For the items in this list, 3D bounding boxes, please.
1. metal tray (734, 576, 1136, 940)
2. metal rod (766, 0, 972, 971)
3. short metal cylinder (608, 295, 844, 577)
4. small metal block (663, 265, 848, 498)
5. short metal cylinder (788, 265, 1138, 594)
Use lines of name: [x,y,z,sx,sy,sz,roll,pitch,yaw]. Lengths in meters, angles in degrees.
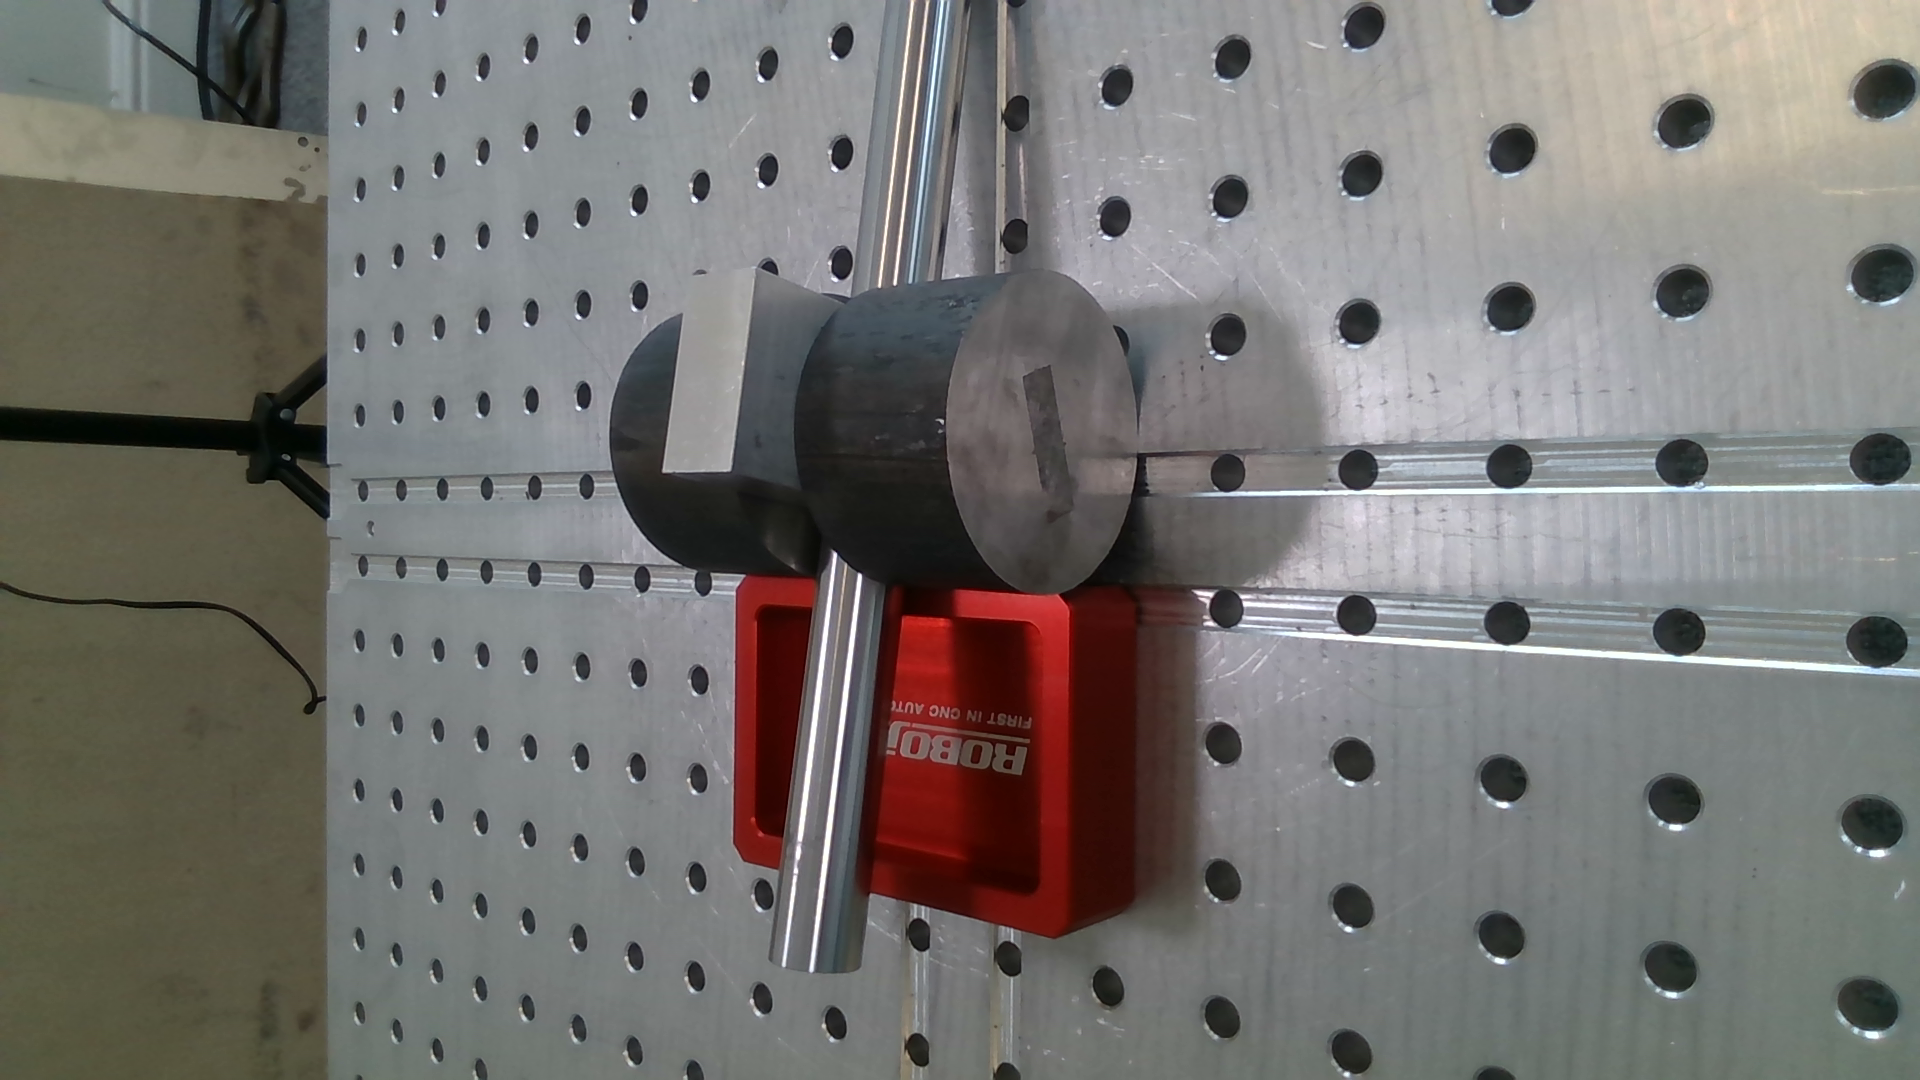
metal tray: [-0.012,0.056,0.401,0.130,0.030,0.090,1,91,40]
metal rod: [-0.022,-0.036,0.382,0.025,0.025,0.300,2,83,40]
short metal cylinder: [-0.055,-0.030,0.403,0.050,0.080,0.080,2,92,40]
small metal block: [-0.045,-0.038,0.353,0.025,0.050,0.050,1,83,40]
short metal cylinder: [0.003,-0.027,0.353,0.050,0.080,0.080,1,91,40]
